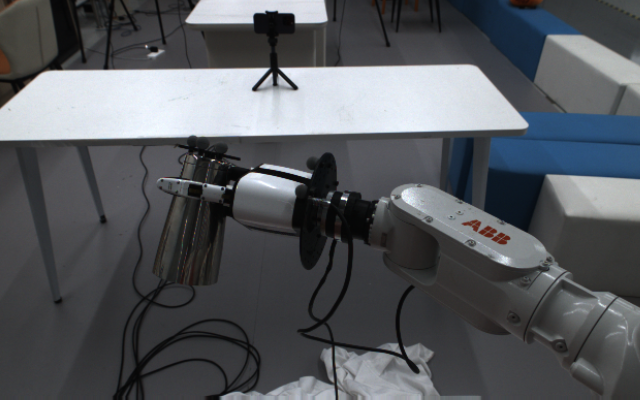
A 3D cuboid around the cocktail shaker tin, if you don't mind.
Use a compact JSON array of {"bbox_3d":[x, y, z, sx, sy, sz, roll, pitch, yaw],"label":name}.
[{"bbox_3d":[-0.173,0.023,0.684,0.093,0.170,0.093,13,3,-1],"label":"cocktail shaker tin"}]
